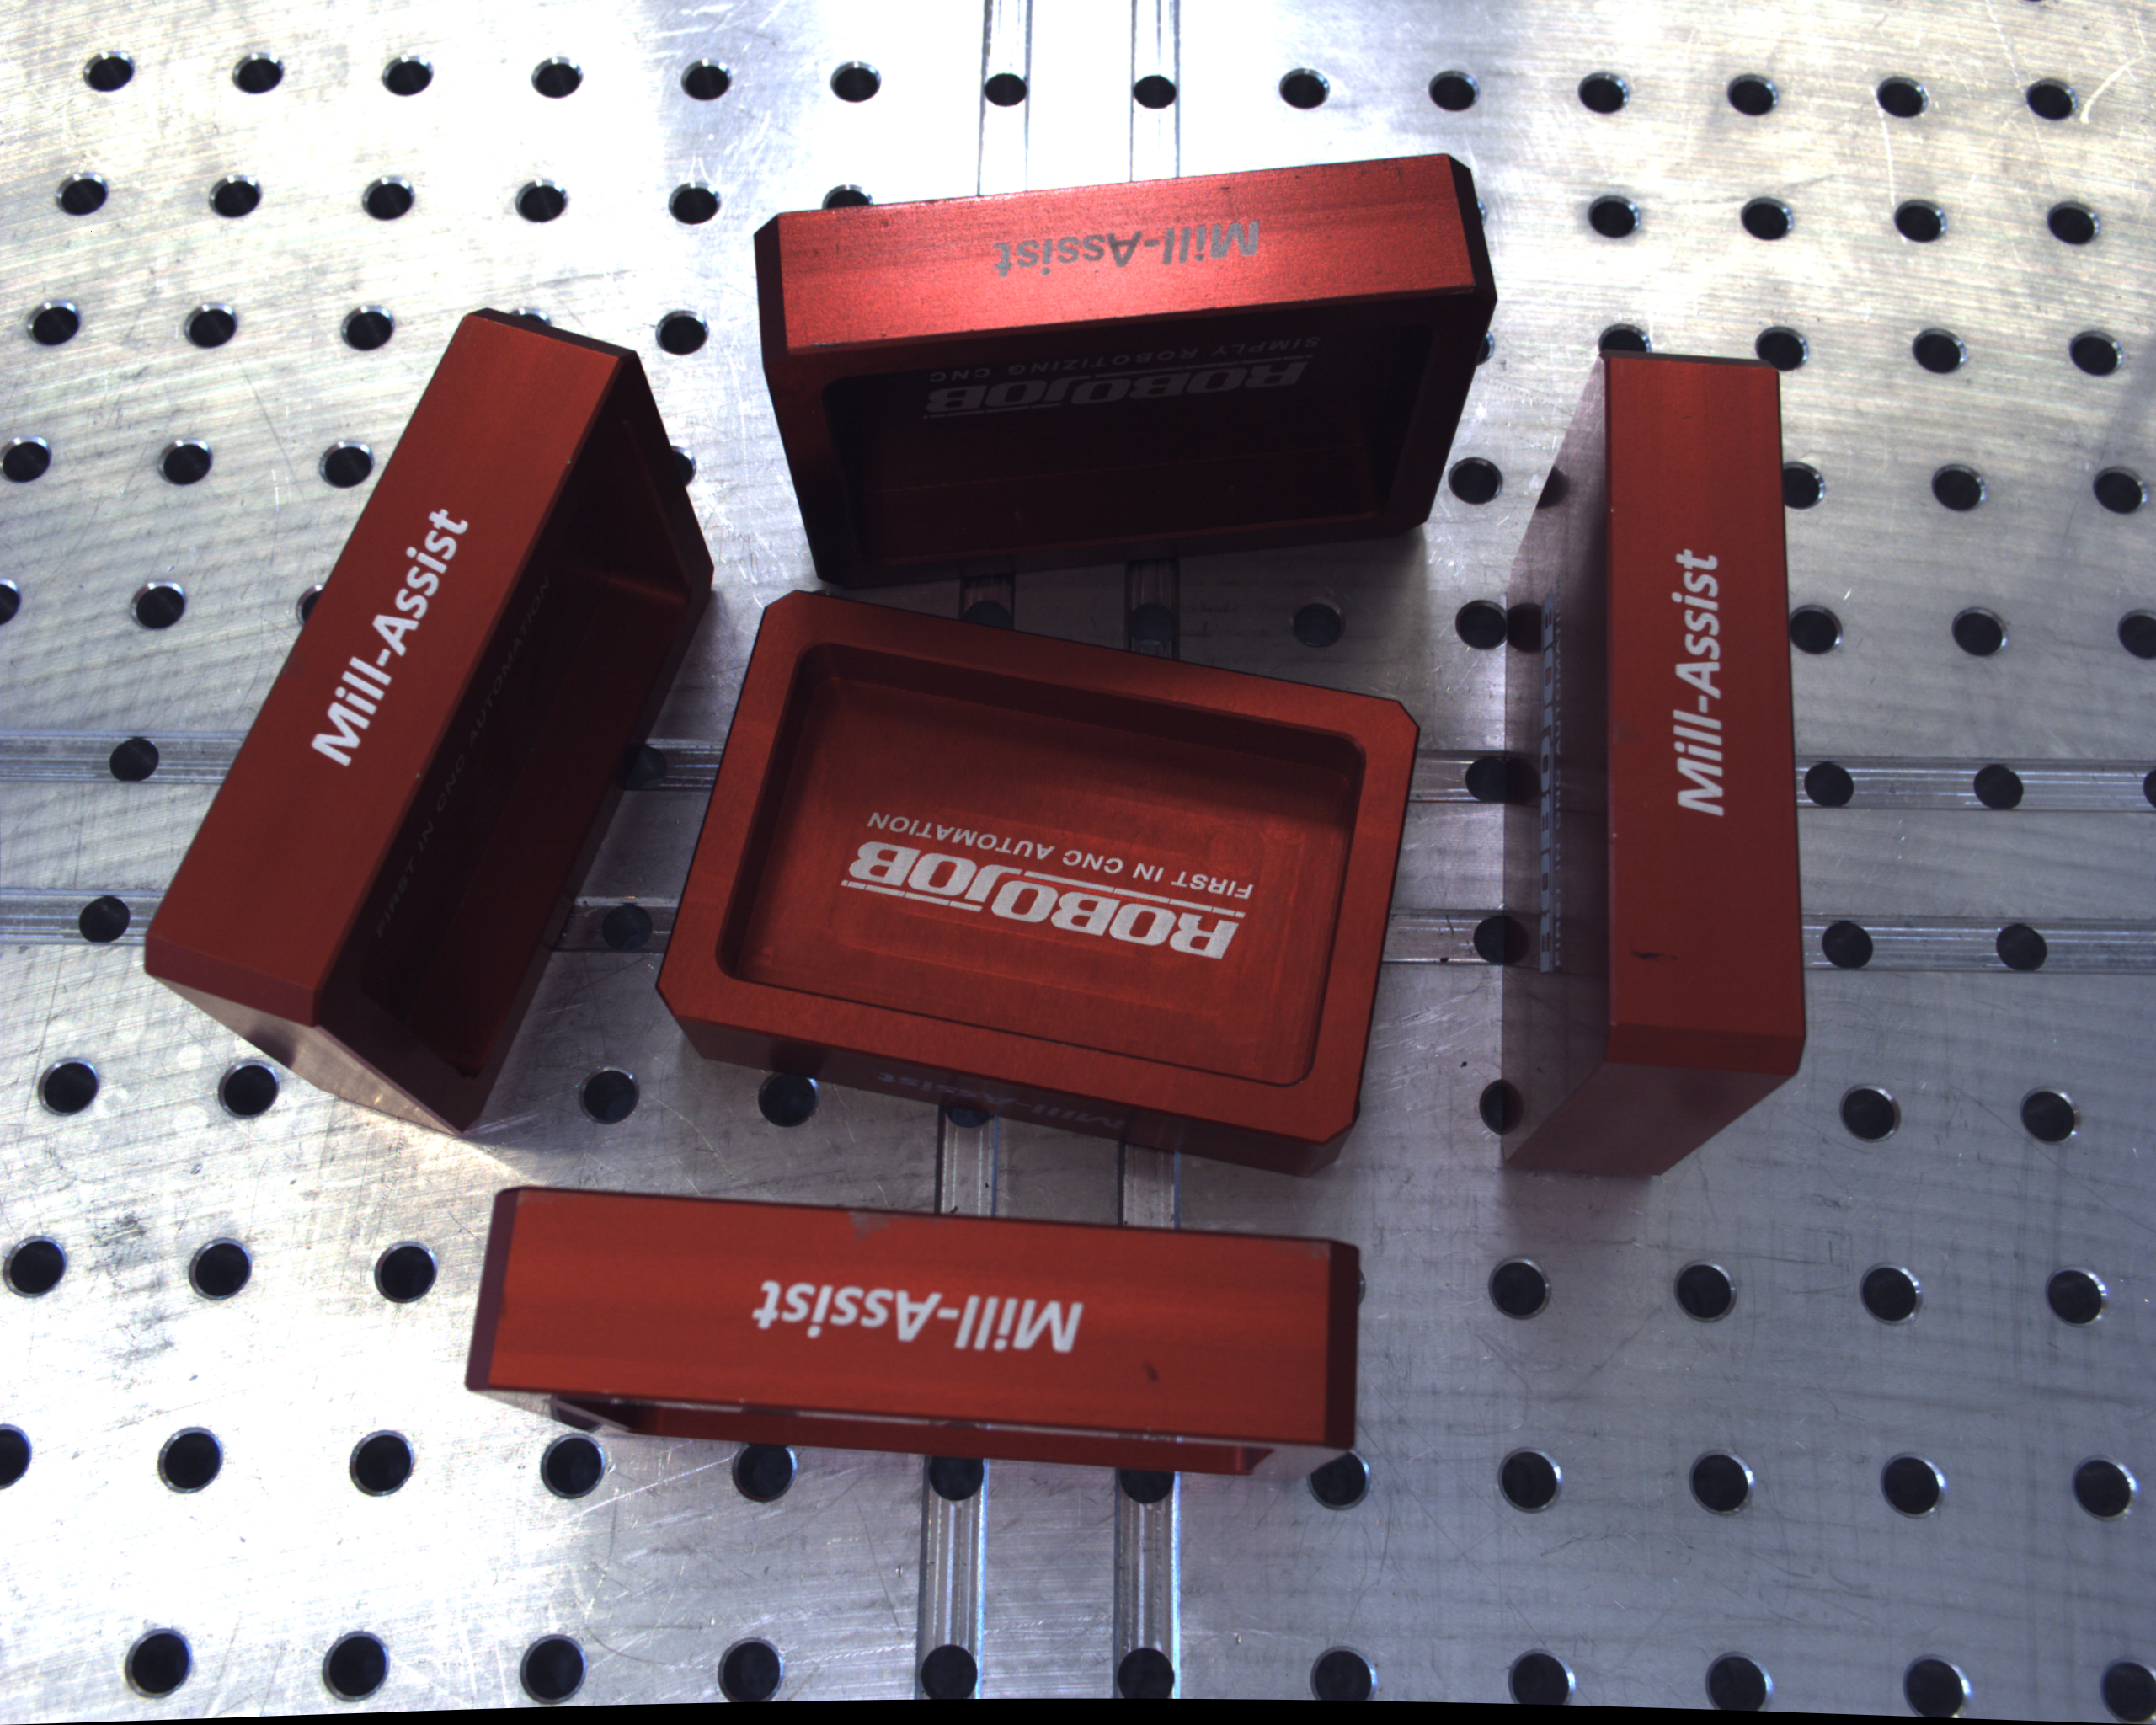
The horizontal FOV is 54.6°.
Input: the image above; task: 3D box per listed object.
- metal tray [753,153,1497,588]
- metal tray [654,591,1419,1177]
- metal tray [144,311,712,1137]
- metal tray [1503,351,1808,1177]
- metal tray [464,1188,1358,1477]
[{"bbox_3d":[0.008,-0.093,0.411,0.131,0.090,0.030,-6,70,-2],"label":"metal tray"},{"bbox_3d":[-0.006,0.003,0.407,0.131,0.030,0.090,11,70,3],"label":"metal tray"},{"bbox_3d":[-0.112,-0.022,0.385,0.030,0.090,0.130,17,71,6],"label":"metal tray"},{"bbox_3d":[0.102,-0.015,0.383,0.030,0.090,0.130,4,70,1],"label":"metal tray"},{"bbox_3d":[-0.024,0.081,0.348,0.131,0.090,0.030,3,70,1],"label":"metal tray"}]
